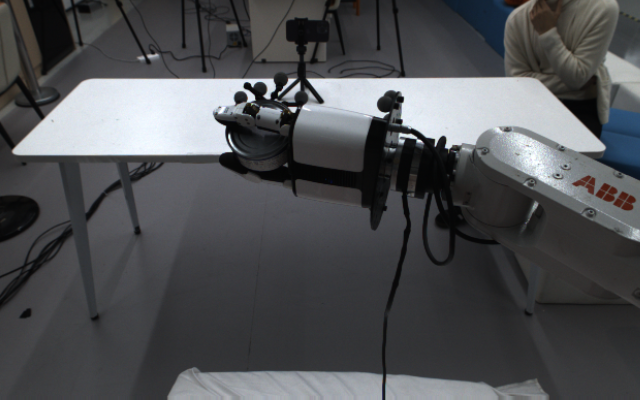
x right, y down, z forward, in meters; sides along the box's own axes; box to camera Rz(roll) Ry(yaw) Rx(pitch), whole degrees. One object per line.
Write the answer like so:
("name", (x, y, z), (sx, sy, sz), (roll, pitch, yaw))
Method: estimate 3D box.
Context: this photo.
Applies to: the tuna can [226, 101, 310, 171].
("tuna can", (-0.069, -0.079, 0.592), (0.085, 0.034, 0.085), (-3, 61, 6))
